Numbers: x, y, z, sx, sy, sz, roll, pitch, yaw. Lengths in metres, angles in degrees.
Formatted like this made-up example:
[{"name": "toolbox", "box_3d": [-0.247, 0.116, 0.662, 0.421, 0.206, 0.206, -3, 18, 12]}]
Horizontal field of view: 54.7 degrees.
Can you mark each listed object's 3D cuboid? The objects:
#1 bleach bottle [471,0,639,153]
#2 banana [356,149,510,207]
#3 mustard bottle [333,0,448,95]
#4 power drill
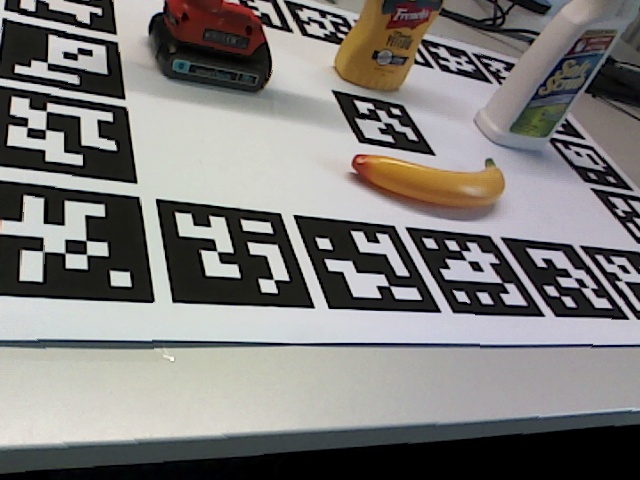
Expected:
[{"name": "bleach bottle", "box_3d": [0.293, -0.226, 0.748, 0.102, 0.251, 0.068, 11, 41, -22]}, {"name": "banana", "box_3d": [0.127, -0.065, 0.623, 0.196, 0.039, 0.074, -2, 49, -29]}, {"name": "mustard bottle", "box_3d": [0.095, -0.264, 0.722, 0.095, 0.191, 0.059, -1, 47, -35]}, {"name": "power drill", "box_3d": [-0.046, -0.265, 0.587, 0.183, 0.187, 0.058, -3, 48, -29]}]
